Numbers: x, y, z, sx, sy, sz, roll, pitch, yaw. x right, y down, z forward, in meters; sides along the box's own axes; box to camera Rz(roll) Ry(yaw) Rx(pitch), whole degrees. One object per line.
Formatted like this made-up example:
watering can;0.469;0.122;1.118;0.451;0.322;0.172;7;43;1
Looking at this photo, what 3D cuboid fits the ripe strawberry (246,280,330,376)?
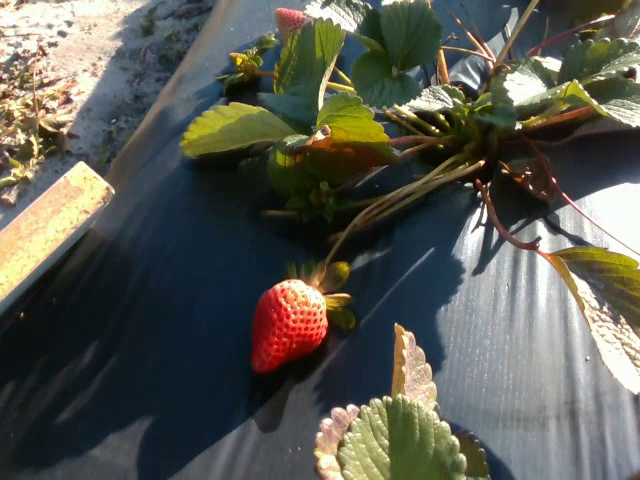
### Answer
ripe strawberry;-0.018;0.043;0.285;0.043;0.064;0.044;43;-43;-16
